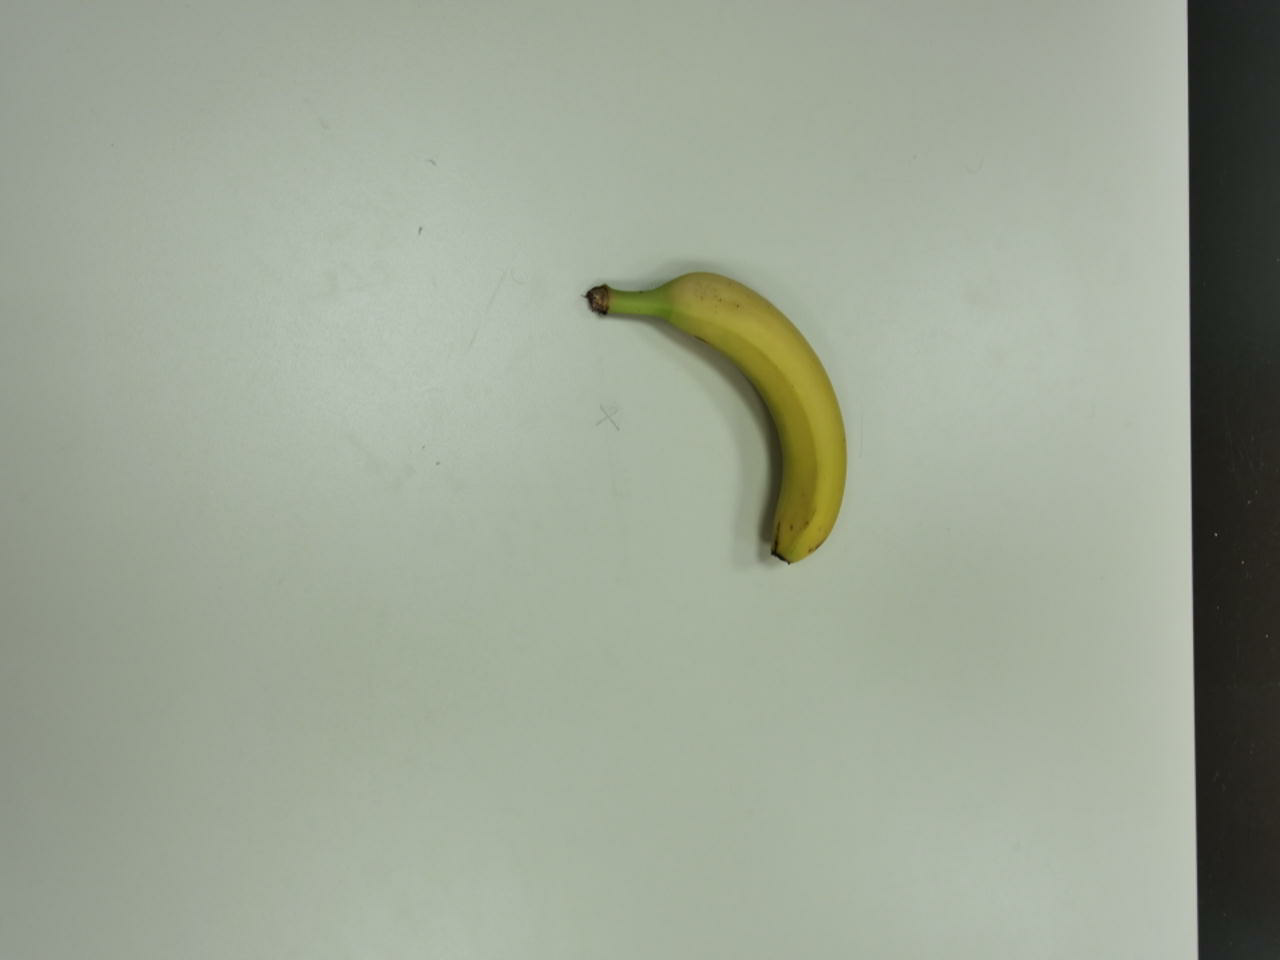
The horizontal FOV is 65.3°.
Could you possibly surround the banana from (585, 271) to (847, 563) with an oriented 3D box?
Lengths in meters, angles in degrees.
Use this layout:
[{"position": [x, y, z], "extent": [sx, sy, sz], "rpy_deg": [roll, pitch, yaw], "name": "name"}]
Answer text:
[{"position": [0.064, -0.052, 0.580], "extent": [0.094, 0.041, 0.196], "rpy_deg": [-39, 103, -17], "name": "banana"}]
